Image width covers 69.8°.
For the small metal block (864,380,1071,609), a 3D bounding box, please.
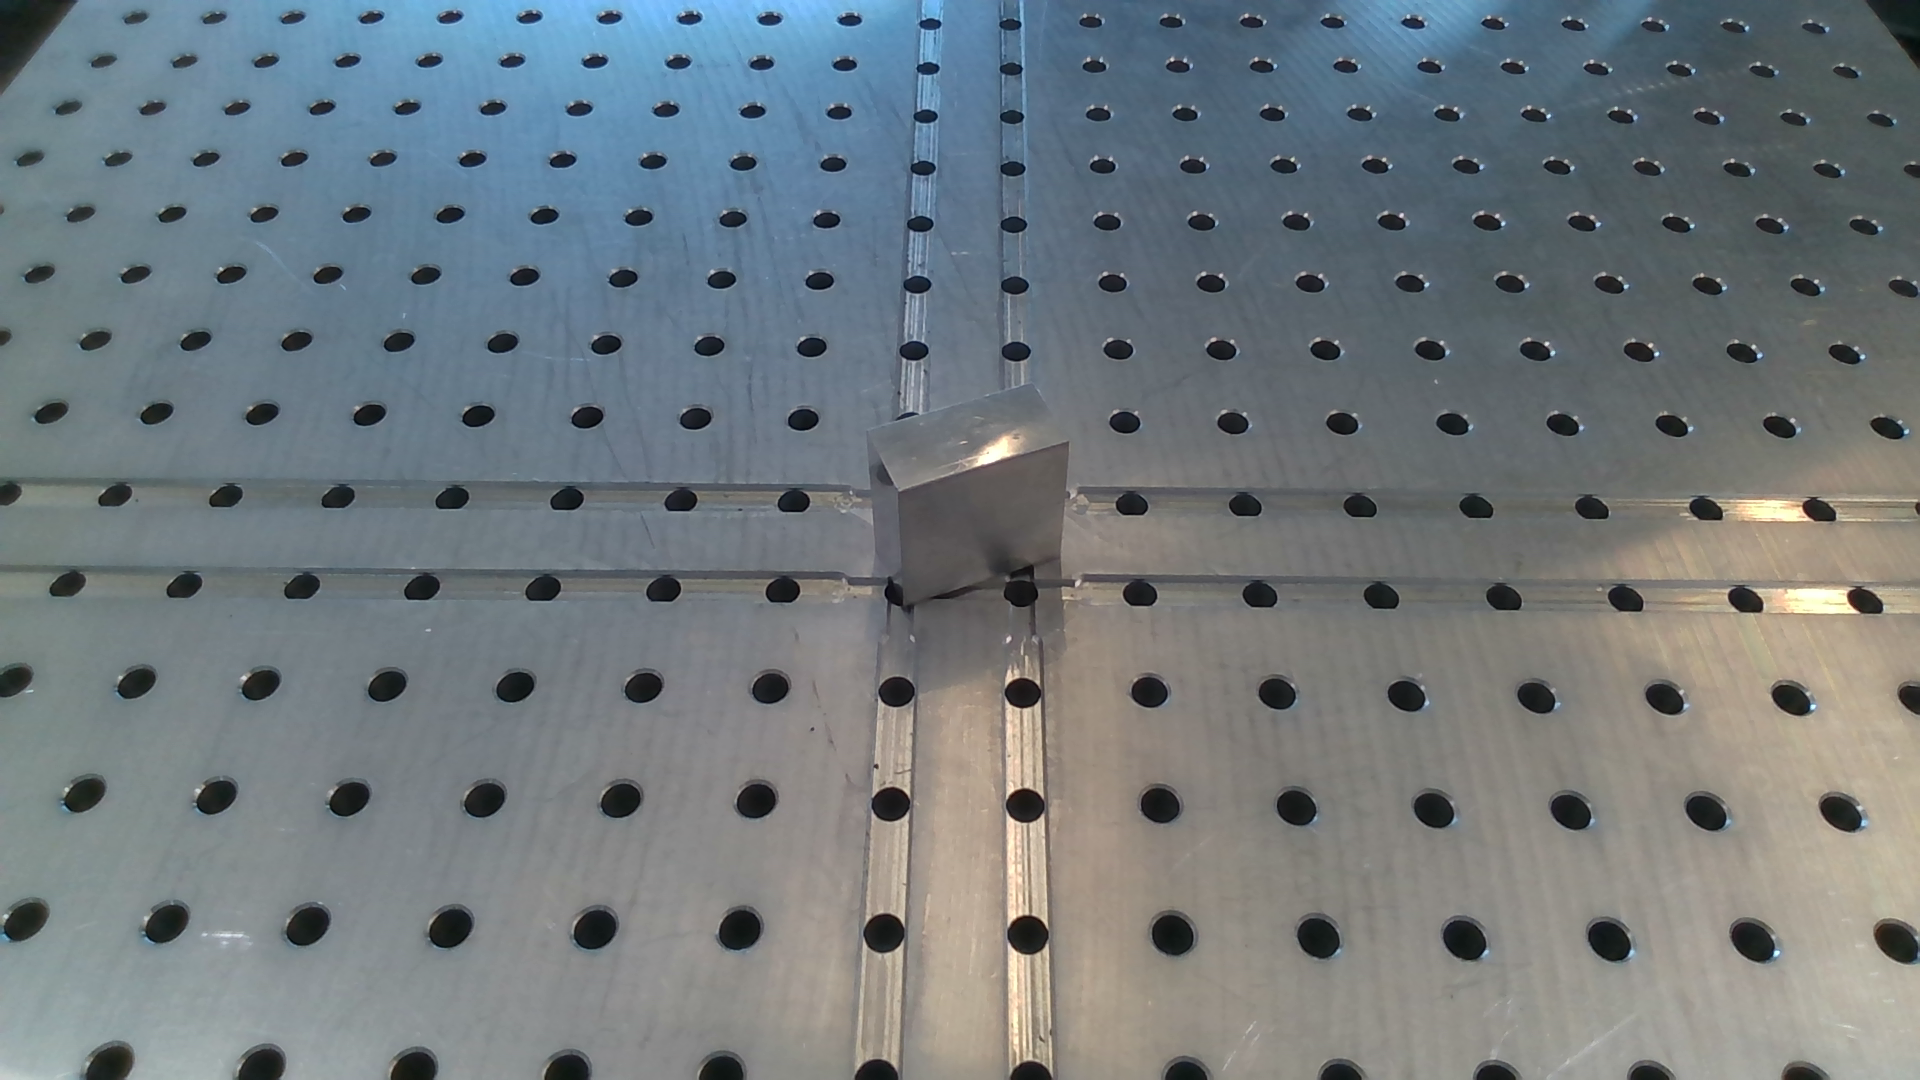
[{"bbox_3d":[0.002,-0.012,0.390,0.050,0.050,0.025,-18,52,-14],"label":"small metal block"}]
